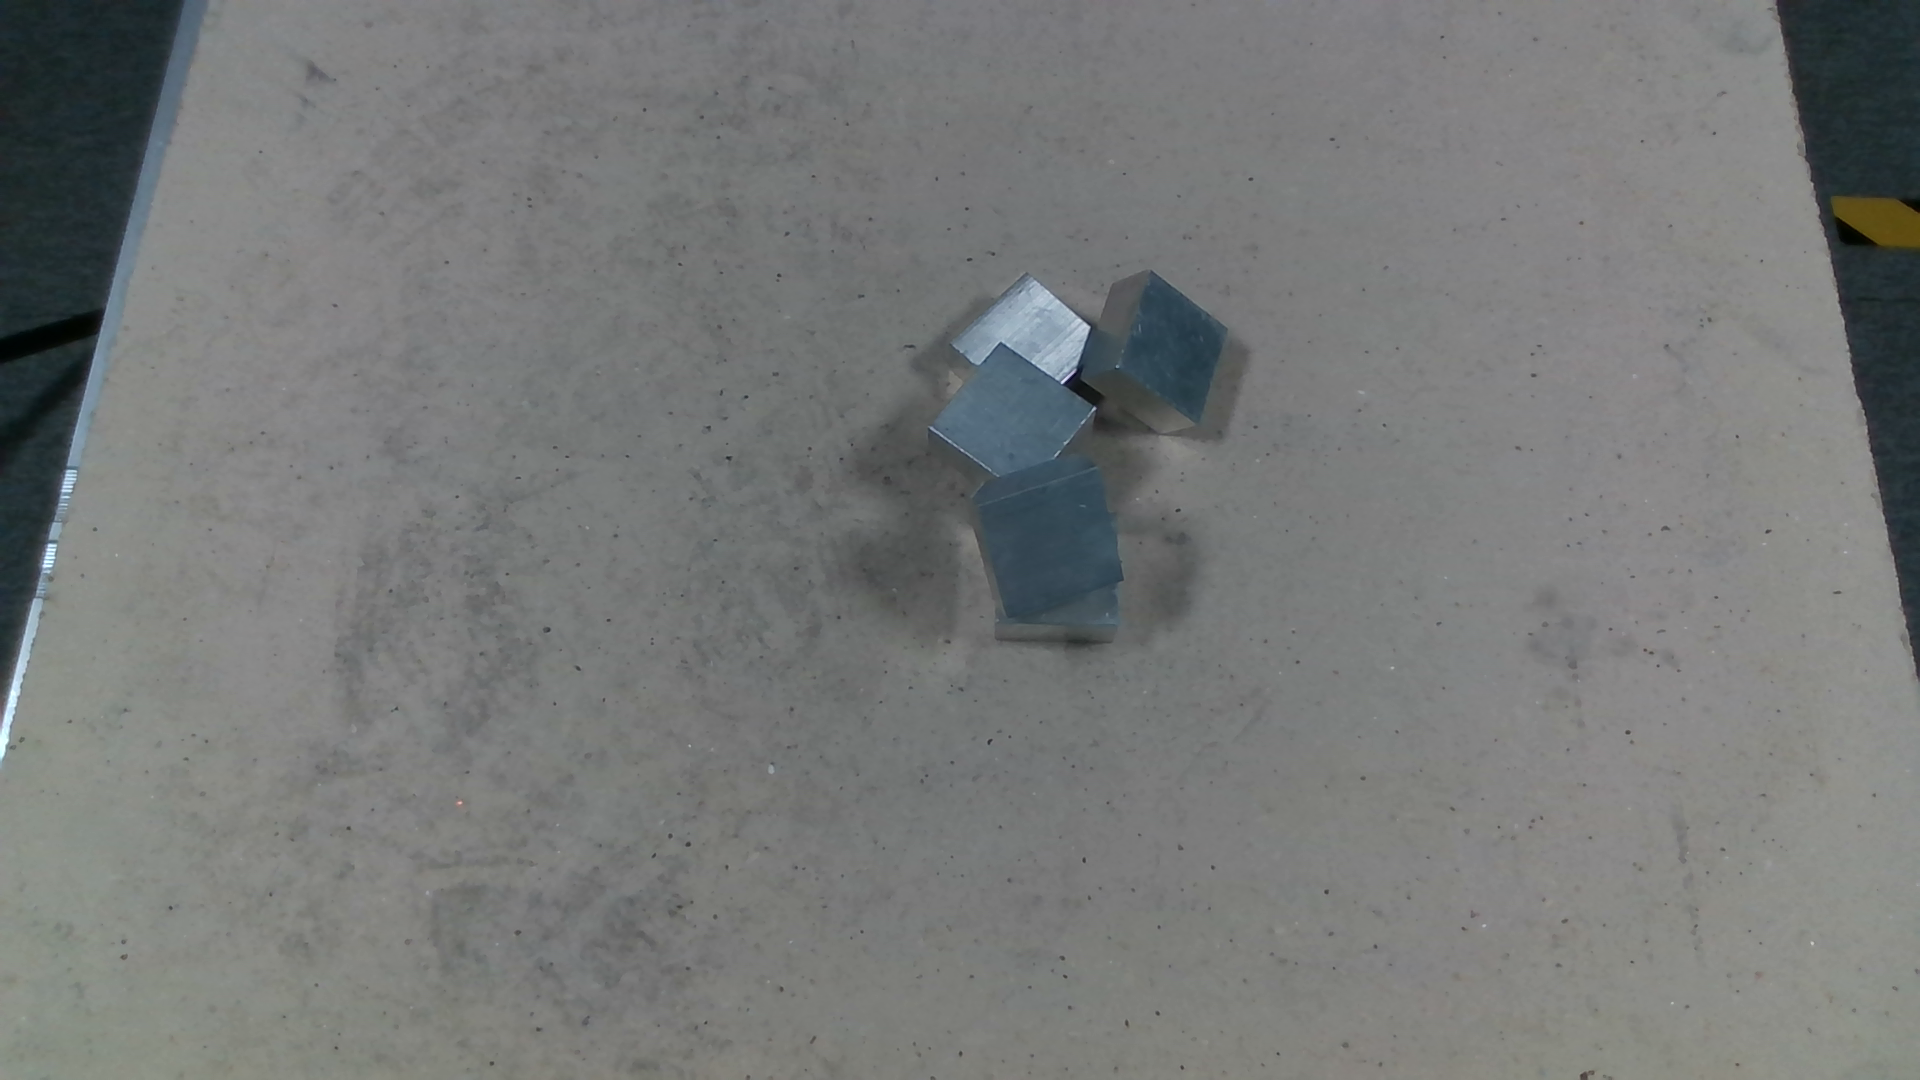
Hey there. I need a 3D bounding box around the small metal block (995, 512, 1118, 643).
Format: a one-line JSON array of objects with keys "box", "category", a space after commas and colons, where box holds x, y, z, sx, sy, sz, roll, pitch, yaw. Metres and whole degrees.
[{"box": [0.040, 0.015, 0.583, 0.050, 0.025, 0.050, 2, 70, 1], "category": "small metal block"}]

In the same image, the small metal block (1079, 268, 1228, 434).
[{"box": [0.085, -0.082, 0.605, 0.050, 0.025, 0.050, 30, 69, -28], "category": "small metal block"}]

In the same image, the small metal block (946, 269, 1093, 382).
[{"box": [0.029, -0.084, 0.618, 0.050, 0.025, 0.050, -43, 76, -14], "category": "small metal block"}]

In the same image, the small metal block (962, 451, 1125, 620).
[{"box": [0.033, -0.002, 0.549, 0.050, 0.025, 0.050, -18, 111, -6], "category": "small metal block"}]

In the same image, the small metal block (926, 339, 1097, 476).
[{"box": [0.021, -0.047, 0.577, 0.050, 0.025, 0.050, 36, 74, 12], "category": "small metal block"}]
